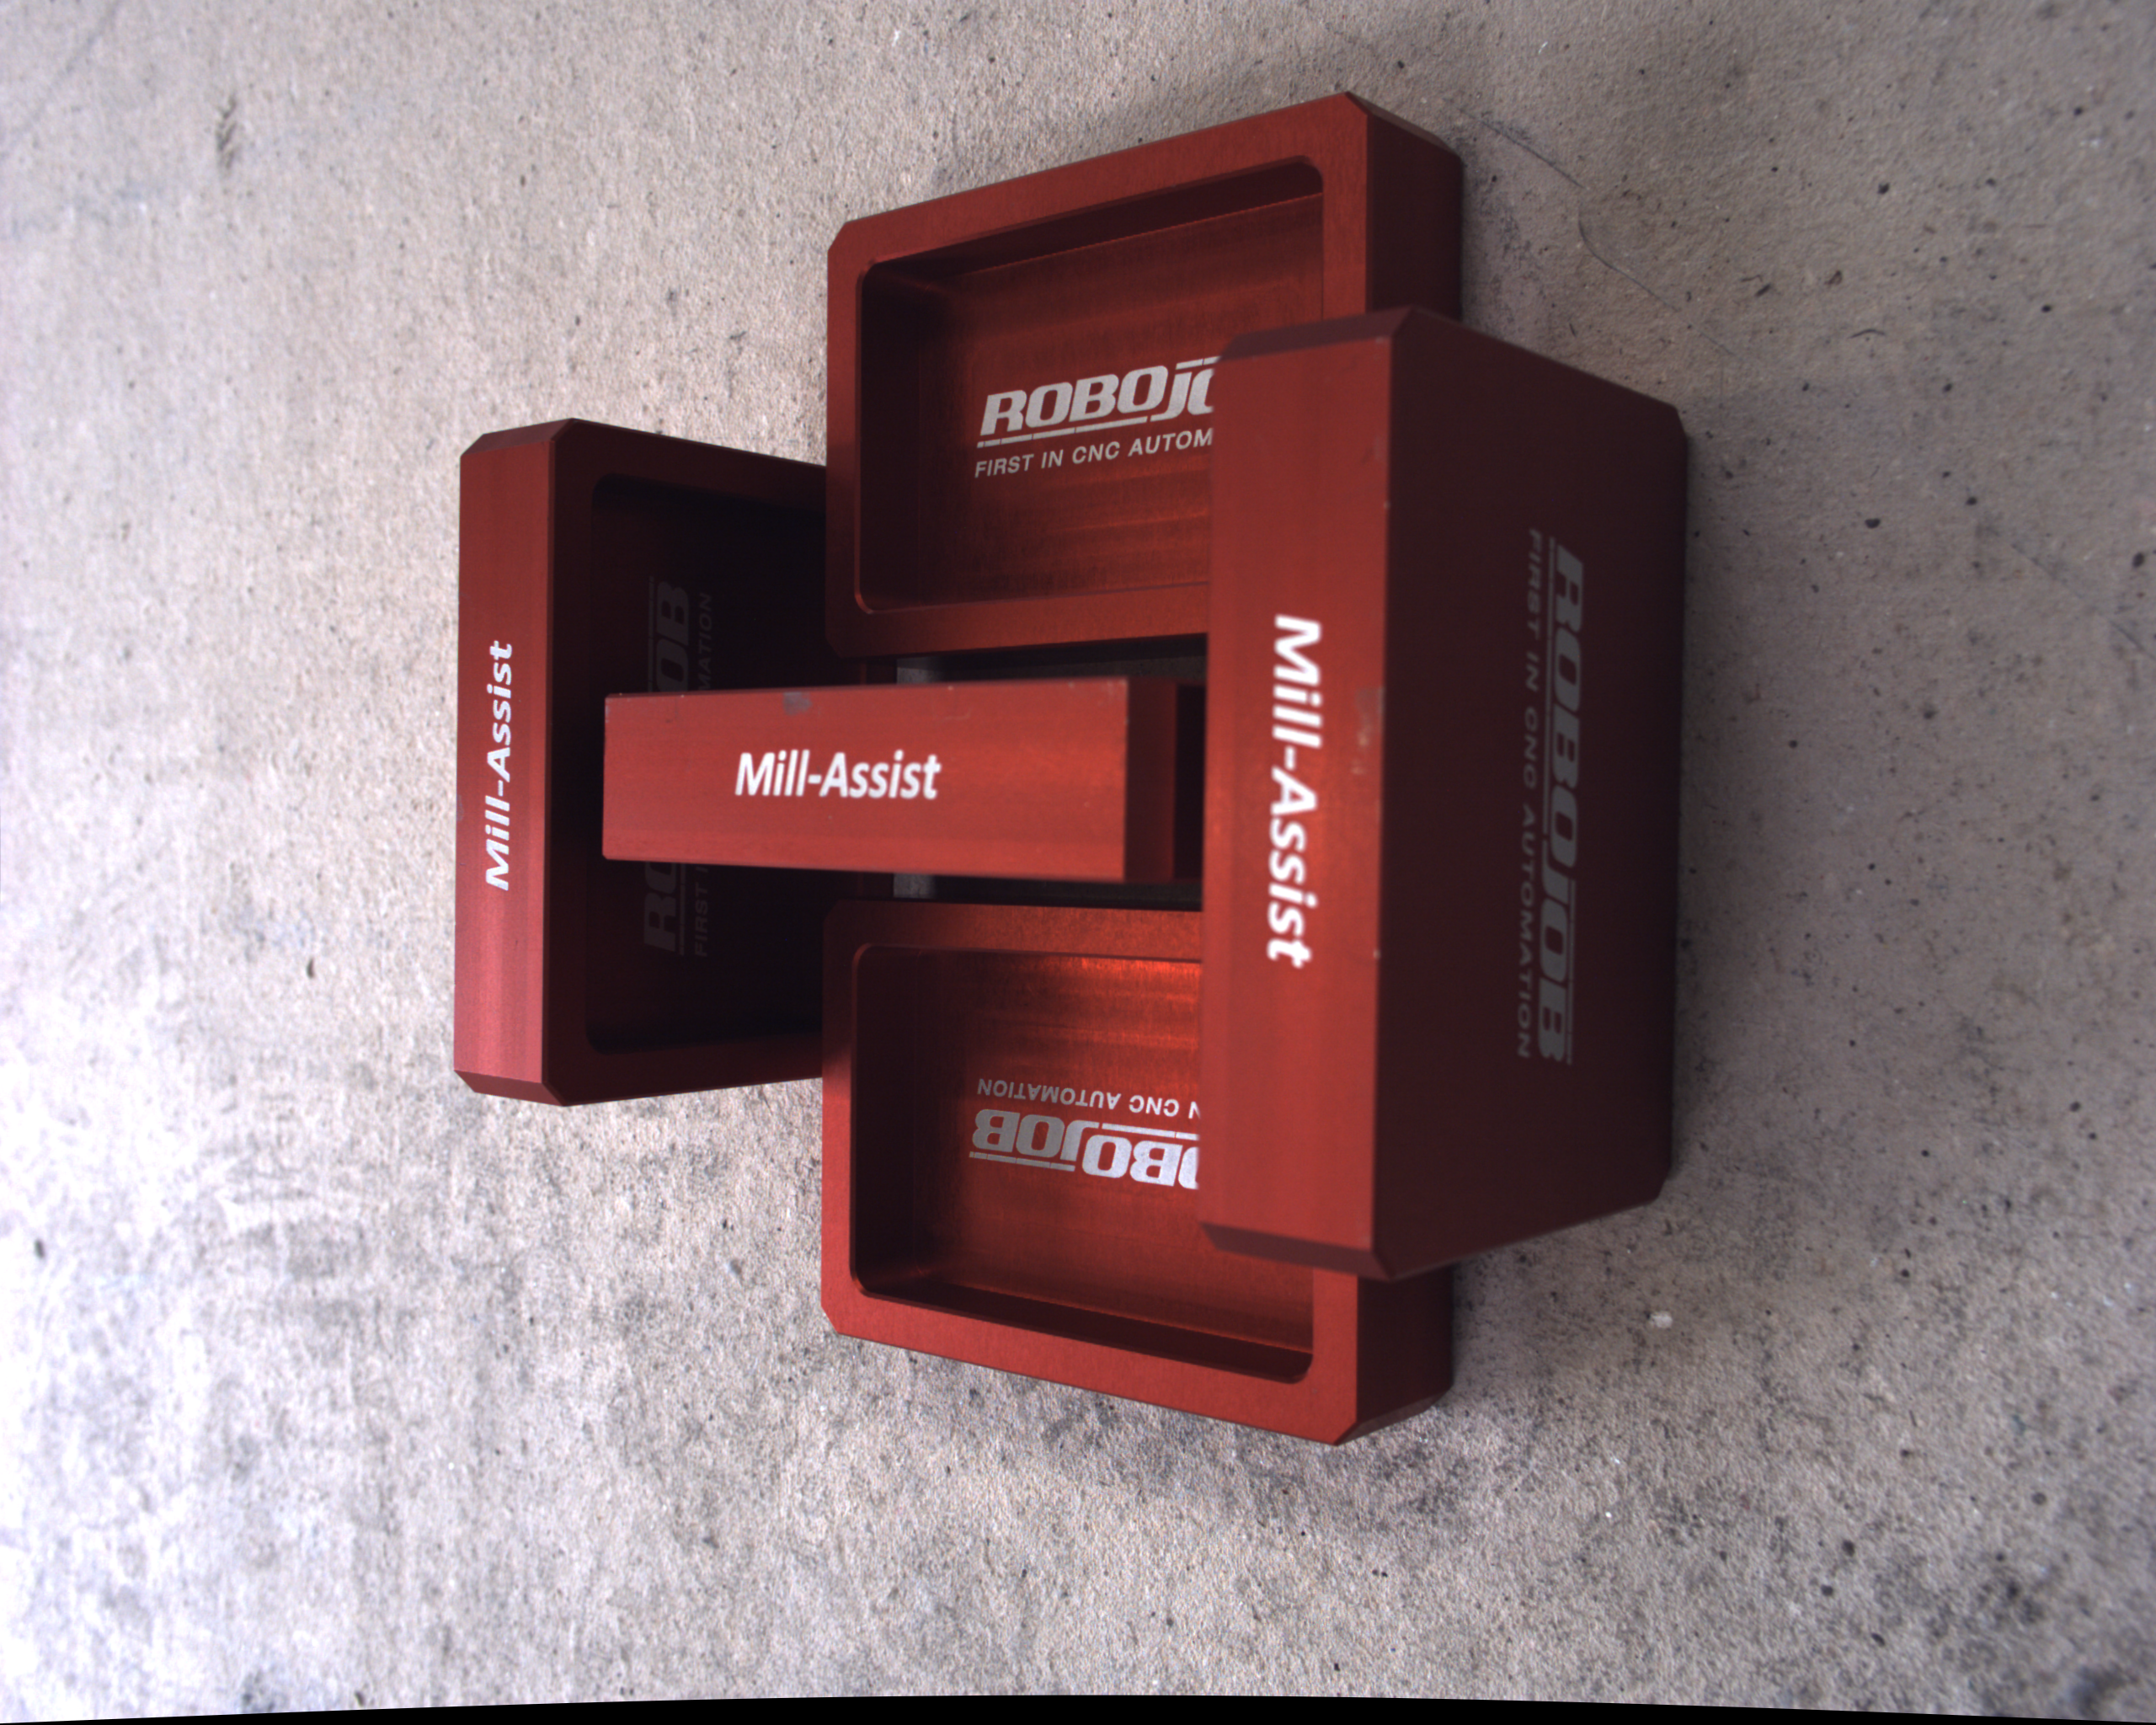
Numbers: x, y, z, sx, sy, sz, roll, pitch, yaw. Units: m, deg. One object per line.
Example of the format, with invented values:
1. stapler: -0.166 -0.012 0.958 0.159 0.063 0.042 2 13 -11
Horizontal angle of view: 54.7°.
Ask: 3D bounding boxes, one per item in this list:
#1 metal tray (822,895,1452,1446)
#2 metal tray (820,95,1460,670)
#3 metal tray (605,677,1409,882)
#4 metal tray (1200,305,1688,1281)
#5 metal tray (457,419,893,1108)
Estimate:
1. metal tray: 0.007 0.052 0.399 0.130 0.030 0.089 1 90 40
2. metal tray: 0.008 -0.084 0.397 0.130 0.030 0.089 1 93 40
3. metal tray: -0.010 -0.015 0.374 0.130 0.091 0.030 2 93 40
4. metal tray: 0.058 -0.009 0.316 0.030 0.091 0.129 2 91 40
5. metal tray: -0.081 -0.019 0.431 0.030 0.091 0.129 2 92 40
